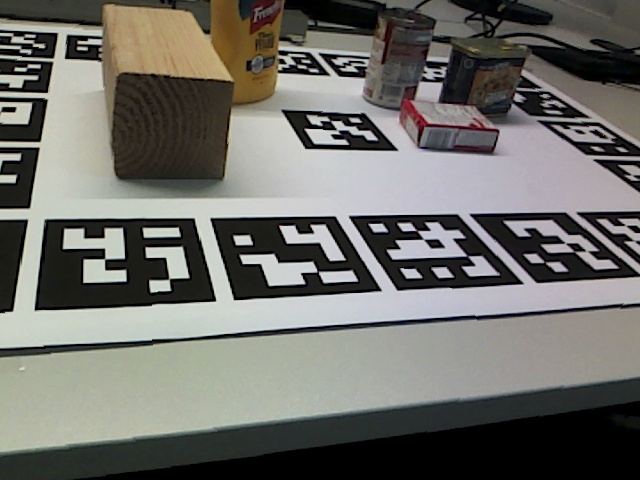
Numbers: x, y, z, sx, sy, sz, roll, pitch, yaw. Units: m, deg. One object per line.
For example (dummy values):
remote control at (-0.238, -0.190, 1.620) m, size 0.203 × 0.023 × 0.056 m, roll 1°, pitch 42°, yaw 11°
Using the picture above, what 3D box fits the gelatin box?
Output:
gelatin box at (0.147, -0.129, 0.686) m, size 0.089 × 0.030 × 0.073 m, roll 2°, pitch 35°, yaw -9°

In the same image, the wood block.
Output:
wood block at (-0.145, -0.144, 0.575) m, size 0.090 × 0.090 × 0.207 m, roll 0°, pitch 30°, yaw -19°

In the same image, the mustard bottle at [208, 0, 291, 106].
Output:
mustard bottle at (-0.075, -0.244, 0.664) m, size 0.095 × 0.191 × 0.059 m, roll -19°, pitch 43°, yaw -40°

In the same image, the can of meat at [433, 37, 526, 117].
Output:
can of meat at (0.196, -0.202, 0.772) m, size 0.101 × 0.083 × 0.058 m, roll -9°, pitch 38°, yaw -32°

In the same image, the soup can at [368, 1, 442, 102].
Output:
soup can at (0.101, -0.227, 0.749) m, size 0.068 × 0.102 × 0.068 m, roll 7°, pitch 34°, yaw -6°
